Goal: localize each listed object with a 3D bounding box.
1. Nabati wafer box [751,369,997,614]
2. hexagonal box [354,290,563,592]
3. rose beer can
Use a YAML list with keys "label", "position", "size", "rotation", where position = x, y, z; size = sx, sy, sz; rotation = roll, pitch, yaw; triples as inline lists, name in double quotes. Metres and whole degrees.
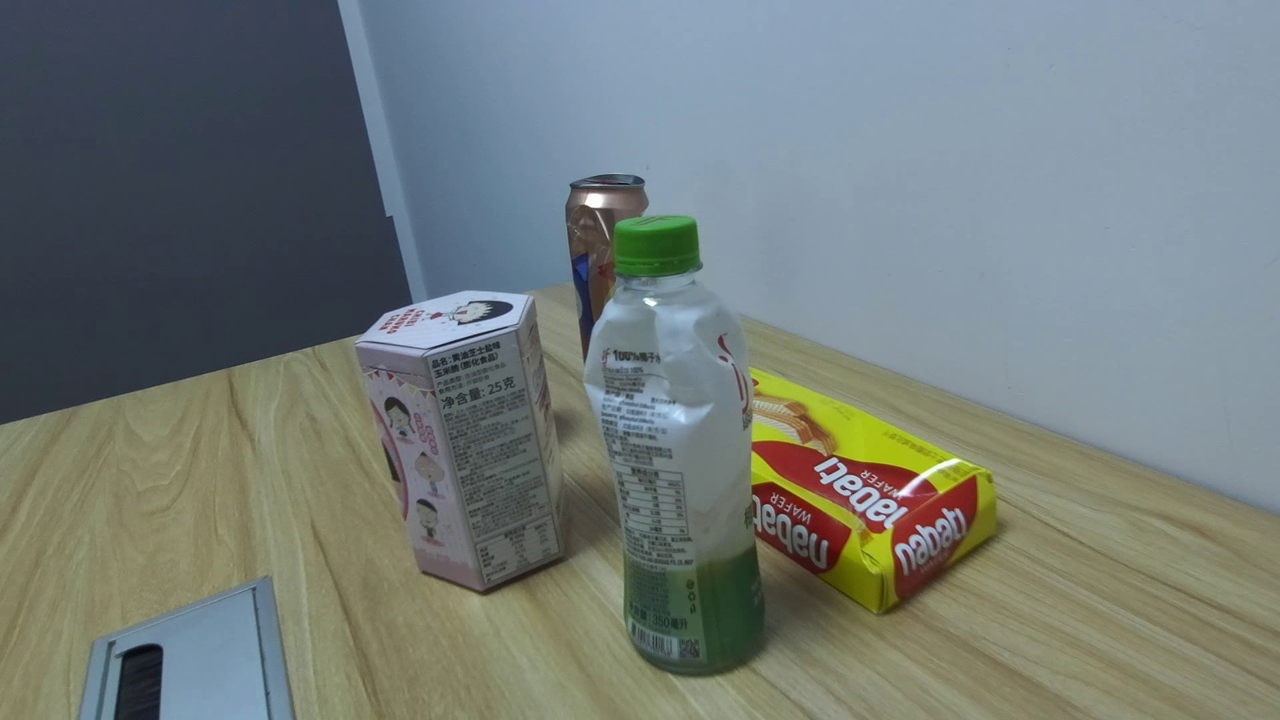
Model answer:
- label: "Nabati wafer box"
  position: [0.088, 0.057, 0.409]
  size: [0.097, 0.042, 0.202]
  rotation: [-17, 27, -30]
- label: "hexagonal box"
  position: [-0.088, 0.041, 0.374]
  size: [0.084, 0.136, 0.091]
  rotation: [-5, 23, 2]
- label: "rose beer can"
  position: [-0.017, -0.054, 0.543]
  size: [0.065, 0.167, 0.076]
  rotation: [6, 21, 26]
